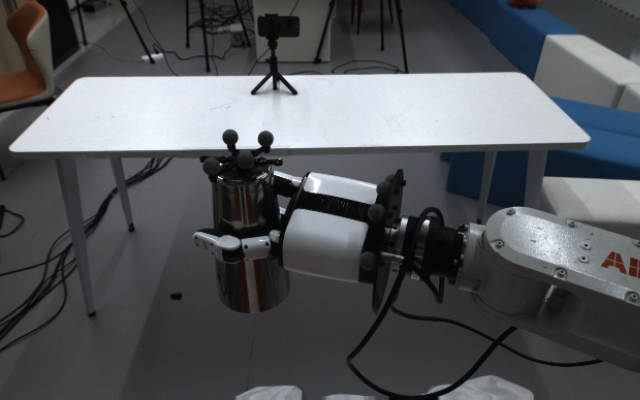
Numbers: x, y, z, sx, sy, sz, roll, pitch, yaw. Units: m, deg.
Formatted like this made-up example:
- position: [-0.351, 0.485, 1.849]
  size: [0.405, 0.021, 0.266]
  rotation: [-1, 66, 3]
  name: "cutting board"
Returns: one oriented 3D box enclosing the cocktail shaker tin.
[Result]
- position: [-0.080, 0.037, 0.563]
  size: [0.093, 0.170, 0.093]
  rotation: [0, 33, 0]
  name: "cocktail shaker tin"
